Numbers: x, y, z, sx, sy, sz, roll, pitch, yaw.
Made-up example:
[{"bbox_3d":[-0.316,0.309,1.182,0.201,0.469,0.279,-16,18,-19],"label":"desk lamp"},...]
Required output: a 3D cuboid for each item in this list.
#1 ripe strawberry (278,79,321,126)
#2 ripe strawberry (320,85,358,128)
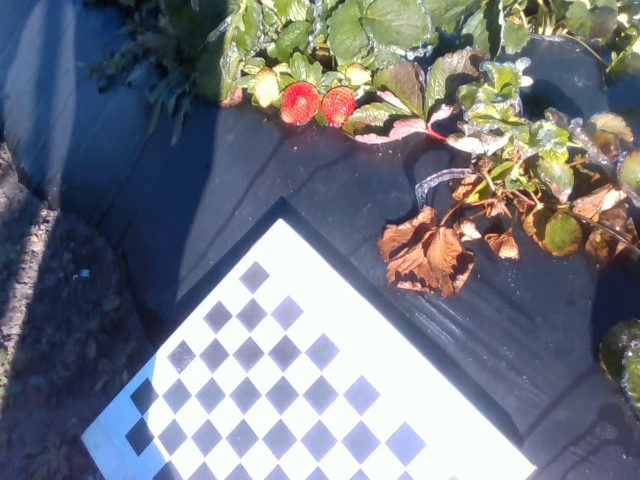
[{"bbox_3d":[-0.022,-0.120,0.569,0.036,0.040,0.052,1,37,24],"label":"ripe strawberry"},{"bbox_3d":[0.018,-0.122,0.571,0.036,0.041,0.030,-24,-30,16],"label":"ripe strawberry"}]
